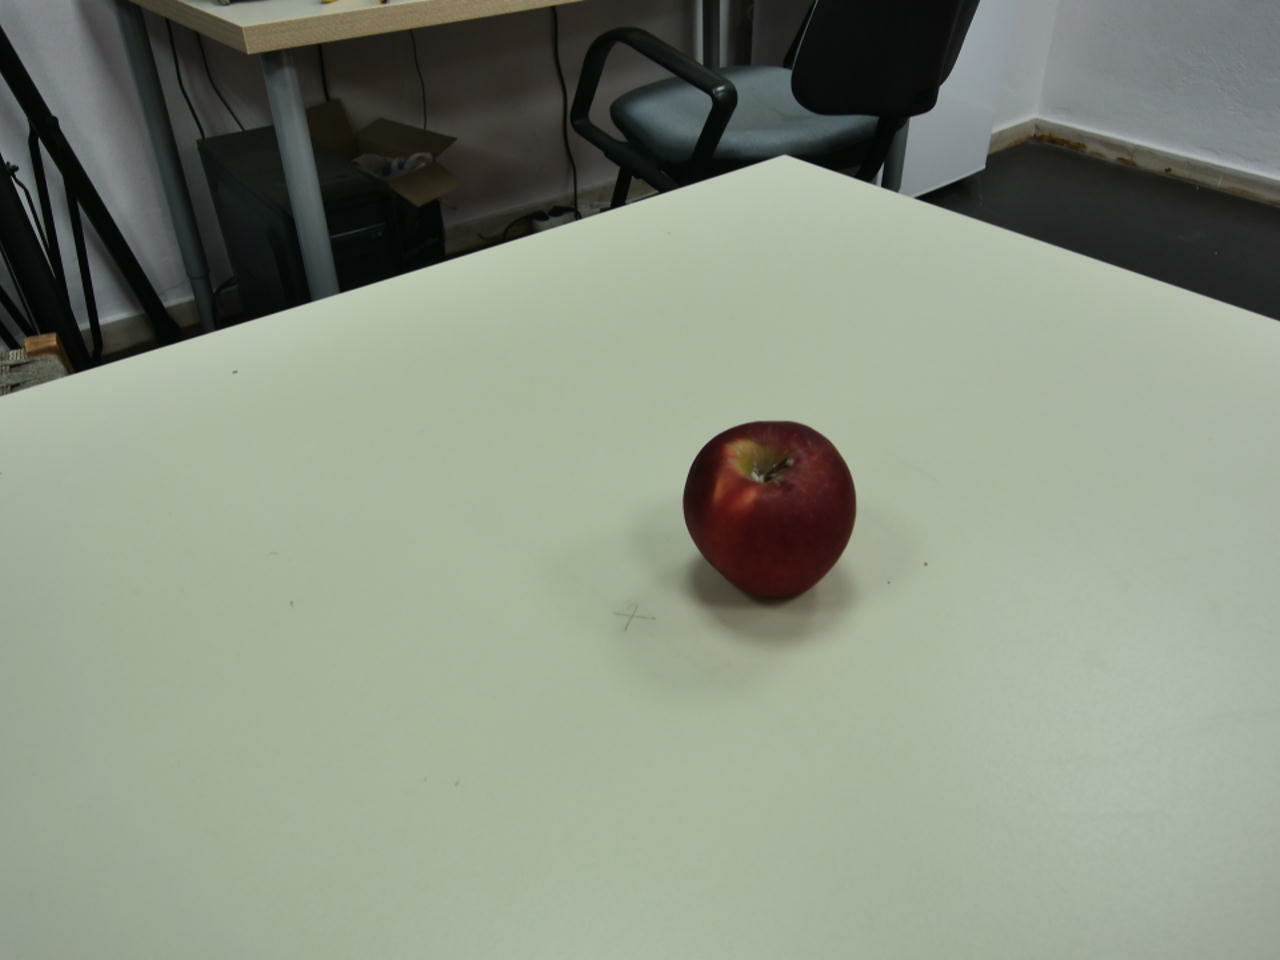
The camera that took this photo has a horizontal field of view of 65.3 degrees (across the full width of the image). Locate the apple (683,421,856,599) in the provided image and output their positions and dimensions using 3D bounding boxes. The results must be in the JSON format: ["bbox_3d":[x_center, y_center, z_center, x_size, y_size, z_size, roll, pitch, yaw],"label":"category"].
[{"bbox_3d":[0.052,0.011,0.402,0.070,0.072,0.070,0,35,0],"label":"apple"}]
